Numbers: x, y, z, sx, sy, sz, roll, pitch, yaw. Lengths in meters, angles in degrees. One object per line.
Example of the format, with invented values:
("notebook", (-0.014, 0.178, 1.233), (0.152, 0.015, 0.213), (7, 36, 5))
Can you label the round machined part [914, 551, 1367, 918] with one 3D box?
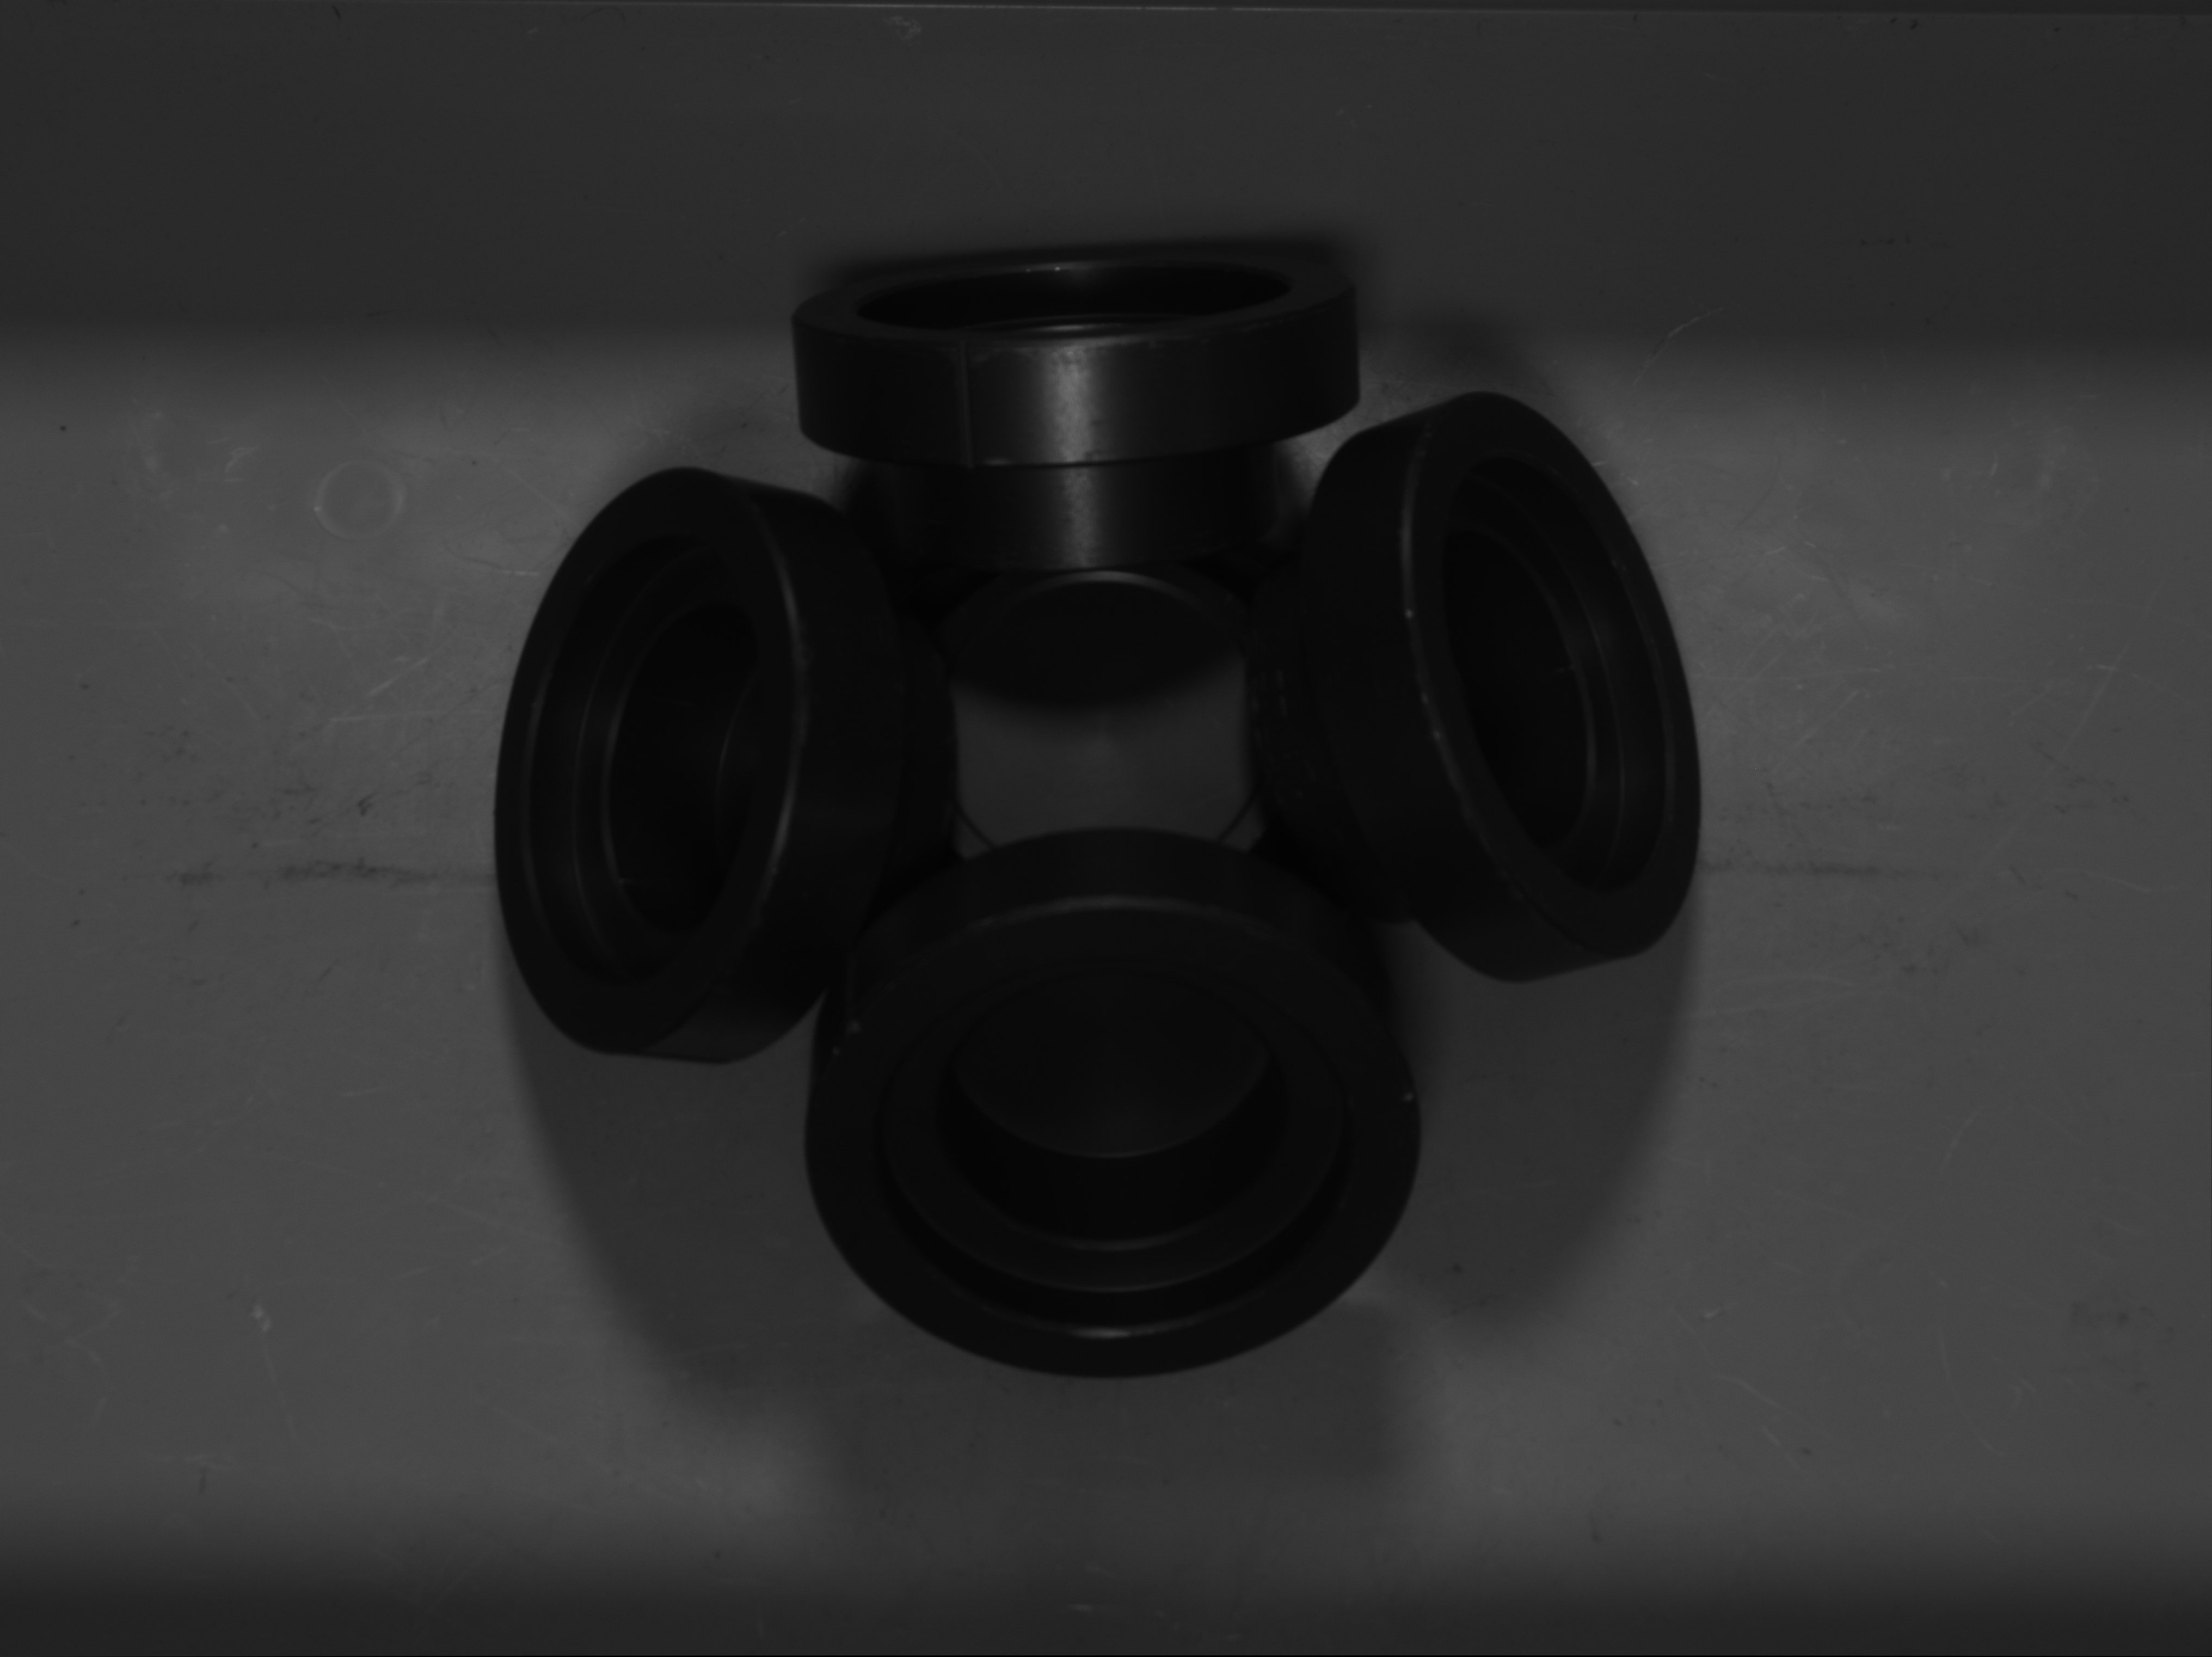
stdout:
("round machined part", (0.002, -0.010, 0.638), (0.098, 0.042, 0.098), (0, 70, 0))

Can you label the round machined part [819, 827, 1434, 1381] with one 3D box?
("round machined part", (0.003, 0.040, 0.600), (0.098, 0.098, 0.042), (-1, 34, 0))

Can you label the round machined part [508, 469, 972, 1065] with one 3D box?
("round machined part", (-0.059, -0.009, 0.618), (0.042, 0.098, 0.098), (9, 65, -37))

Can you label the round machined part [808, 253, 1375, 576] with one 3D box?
("round machined part", (-0.002, -0.073, 0.641), (0.098, 0.098, 0.042), (-3, 108, -1))

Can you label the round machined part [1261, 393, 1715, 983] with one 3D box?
("round machined part", (0.062, -0.021, 0.623), (0.042, 0.098, 0.098), (-16, 66, 33))
